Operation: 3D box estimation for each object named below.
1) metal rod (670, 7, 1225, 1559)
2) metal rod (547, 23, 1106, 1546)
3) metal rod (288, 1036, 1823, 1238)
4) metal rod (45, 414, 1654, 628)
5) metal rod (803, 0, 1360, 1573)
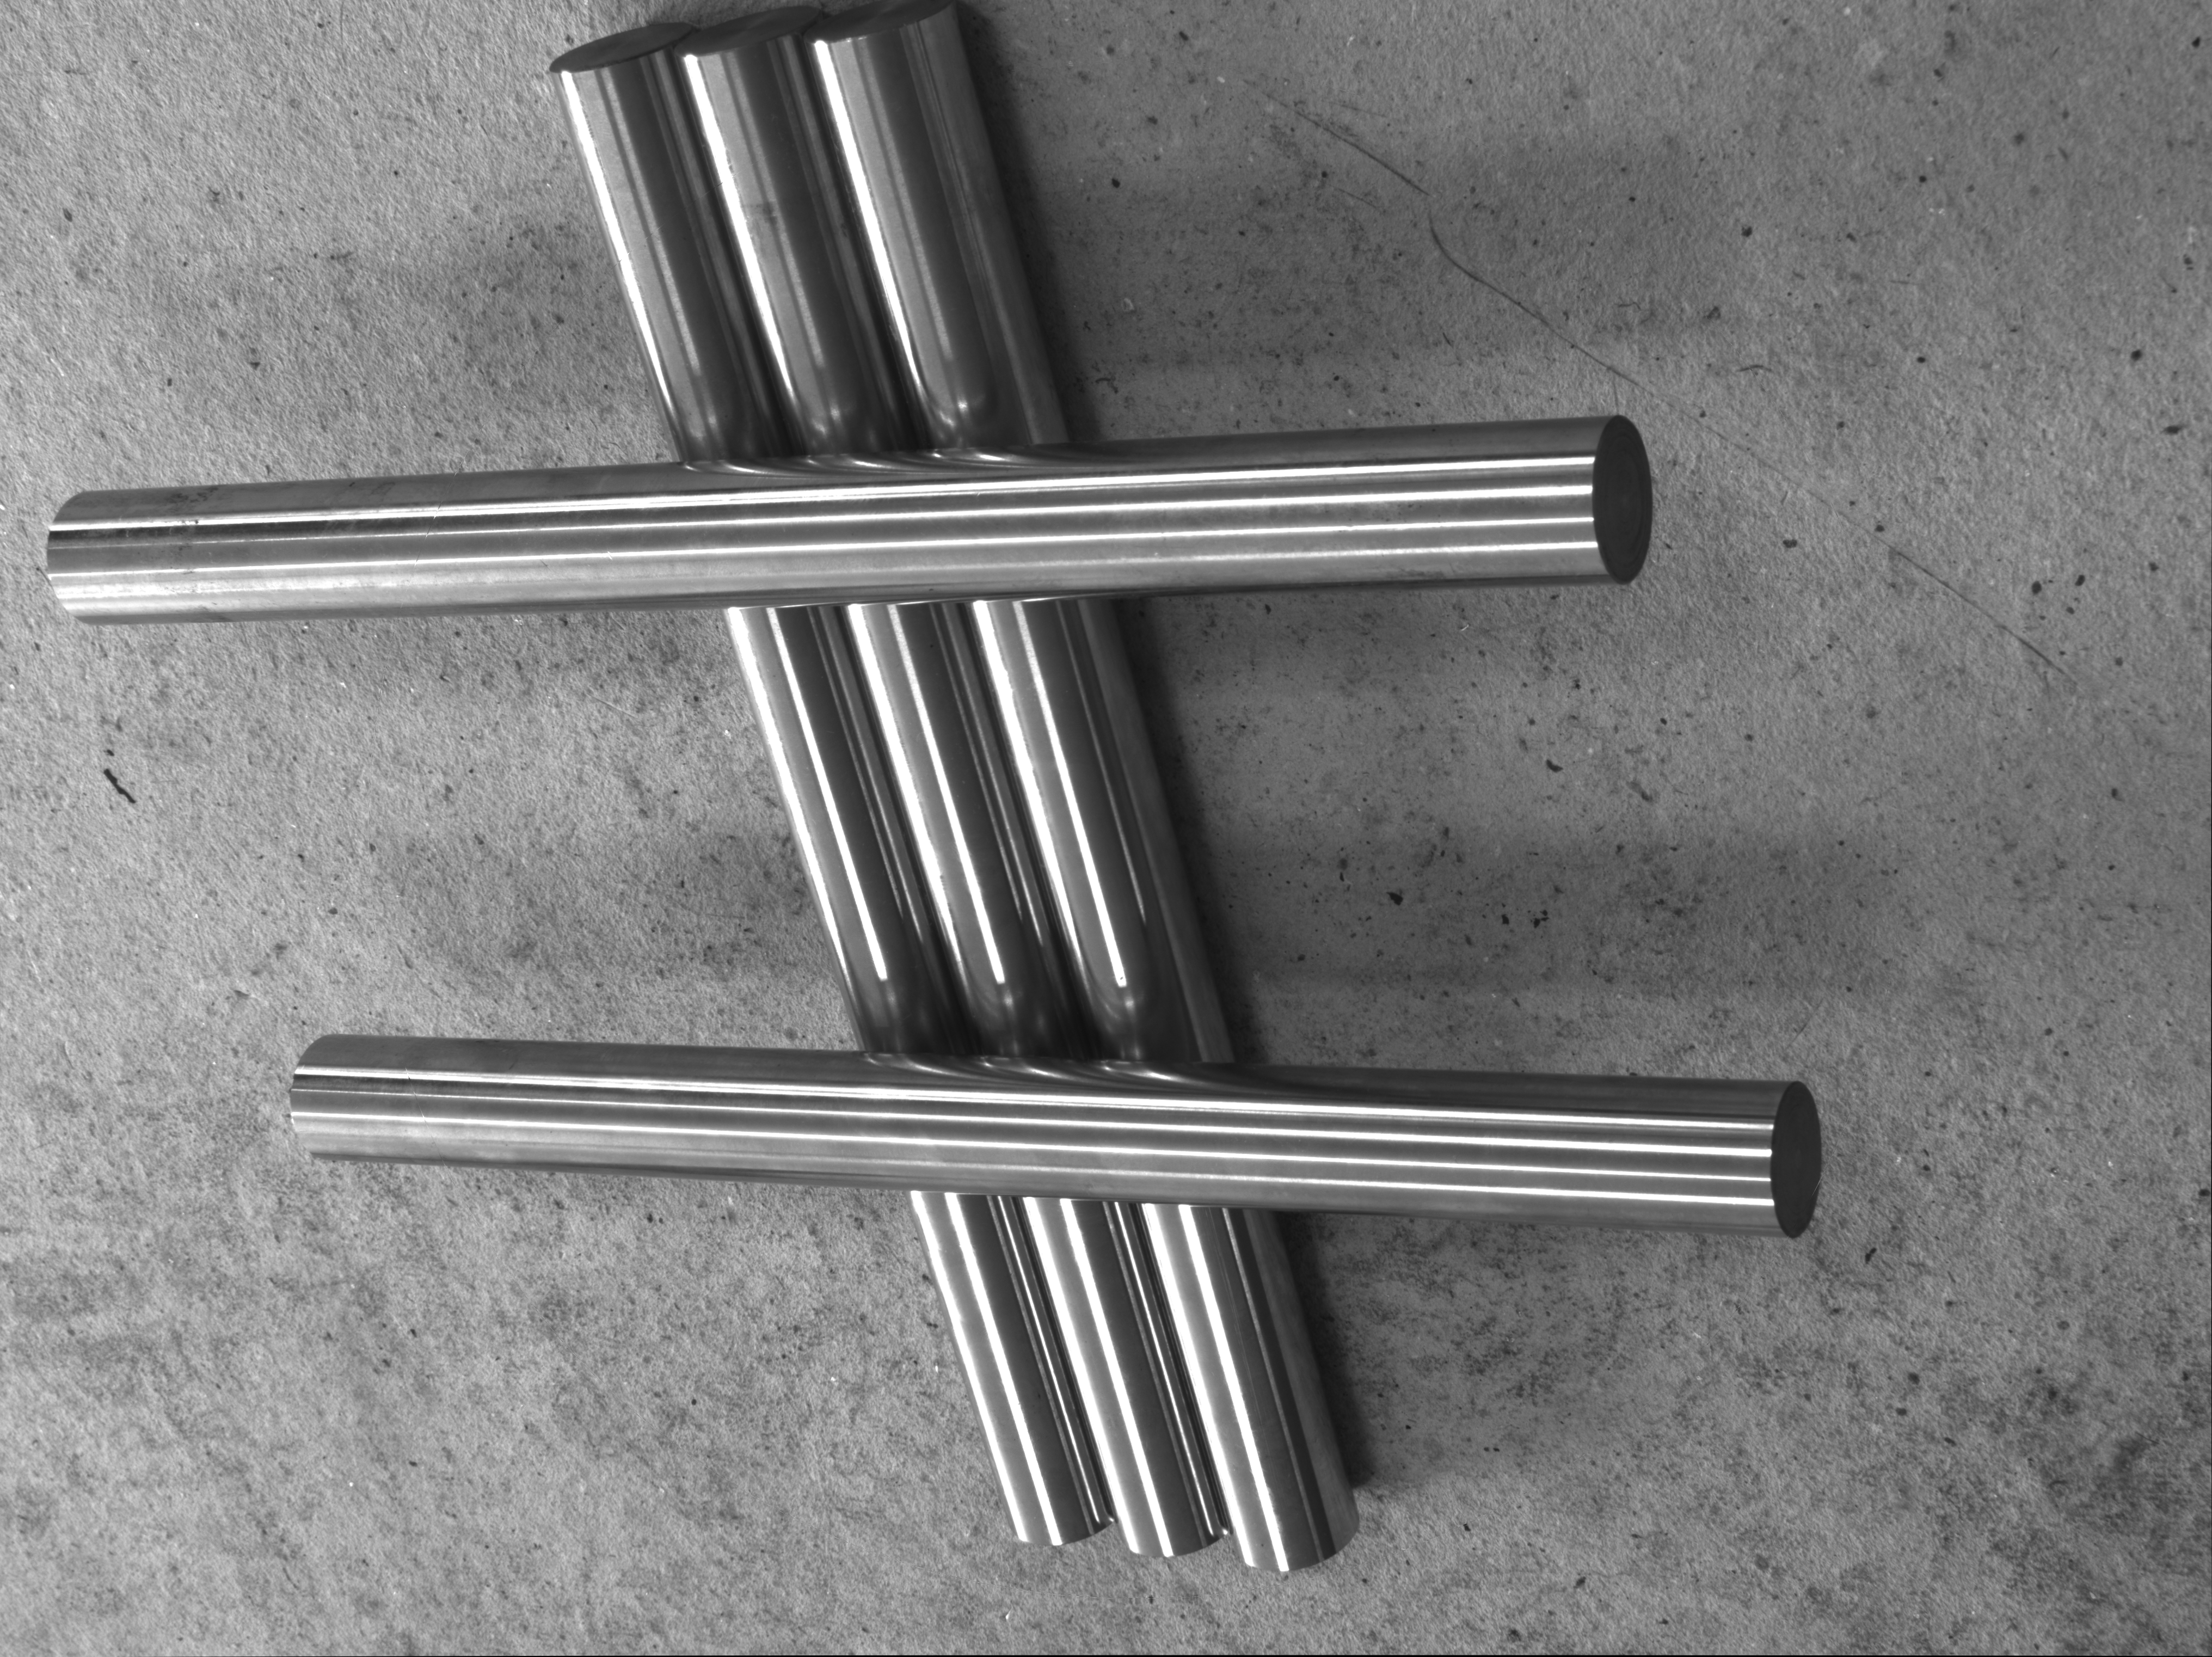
[{"bbox_3d":[-0.022,0.003,0.656,0.025,0.025,0.300,-1,118,29],"label":"metal rod"},{"bbox_3d":[-0.044,0.003,0.668,0.025,0.025,0.300,-1,118,29],"label":"metal rod"},{"bbox_3d":[-0.021,0.053,0.654,0.299,0.025,0.025,0,118,28],"label":"metal rod"},{"bbox_3d":[-0.056,-0.049,0.610,0.299,0.025,0.025,0,118,28],"label":"metal rod"},{"bbox_3d":[0.000,0.003,0.644,0.025,0.025,0.300,-1,118,29],"label":"metal rod"}]
